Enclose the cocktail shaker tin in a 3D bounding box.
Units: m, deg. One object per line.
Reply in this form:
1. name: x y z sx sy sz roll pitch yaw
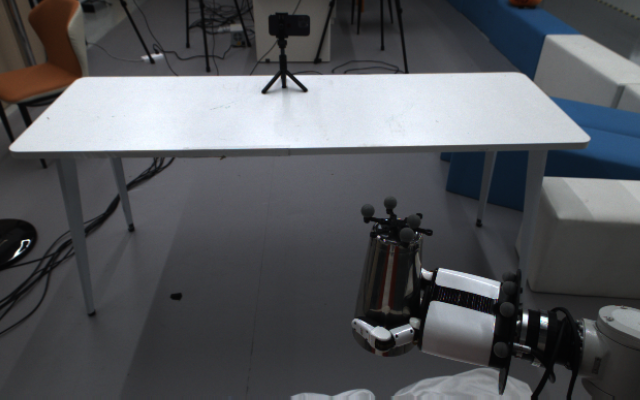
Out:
1. cocktail shaker tin: 0.096 0.113 0.649 0.093 0.170 0.093 1 28 -1
